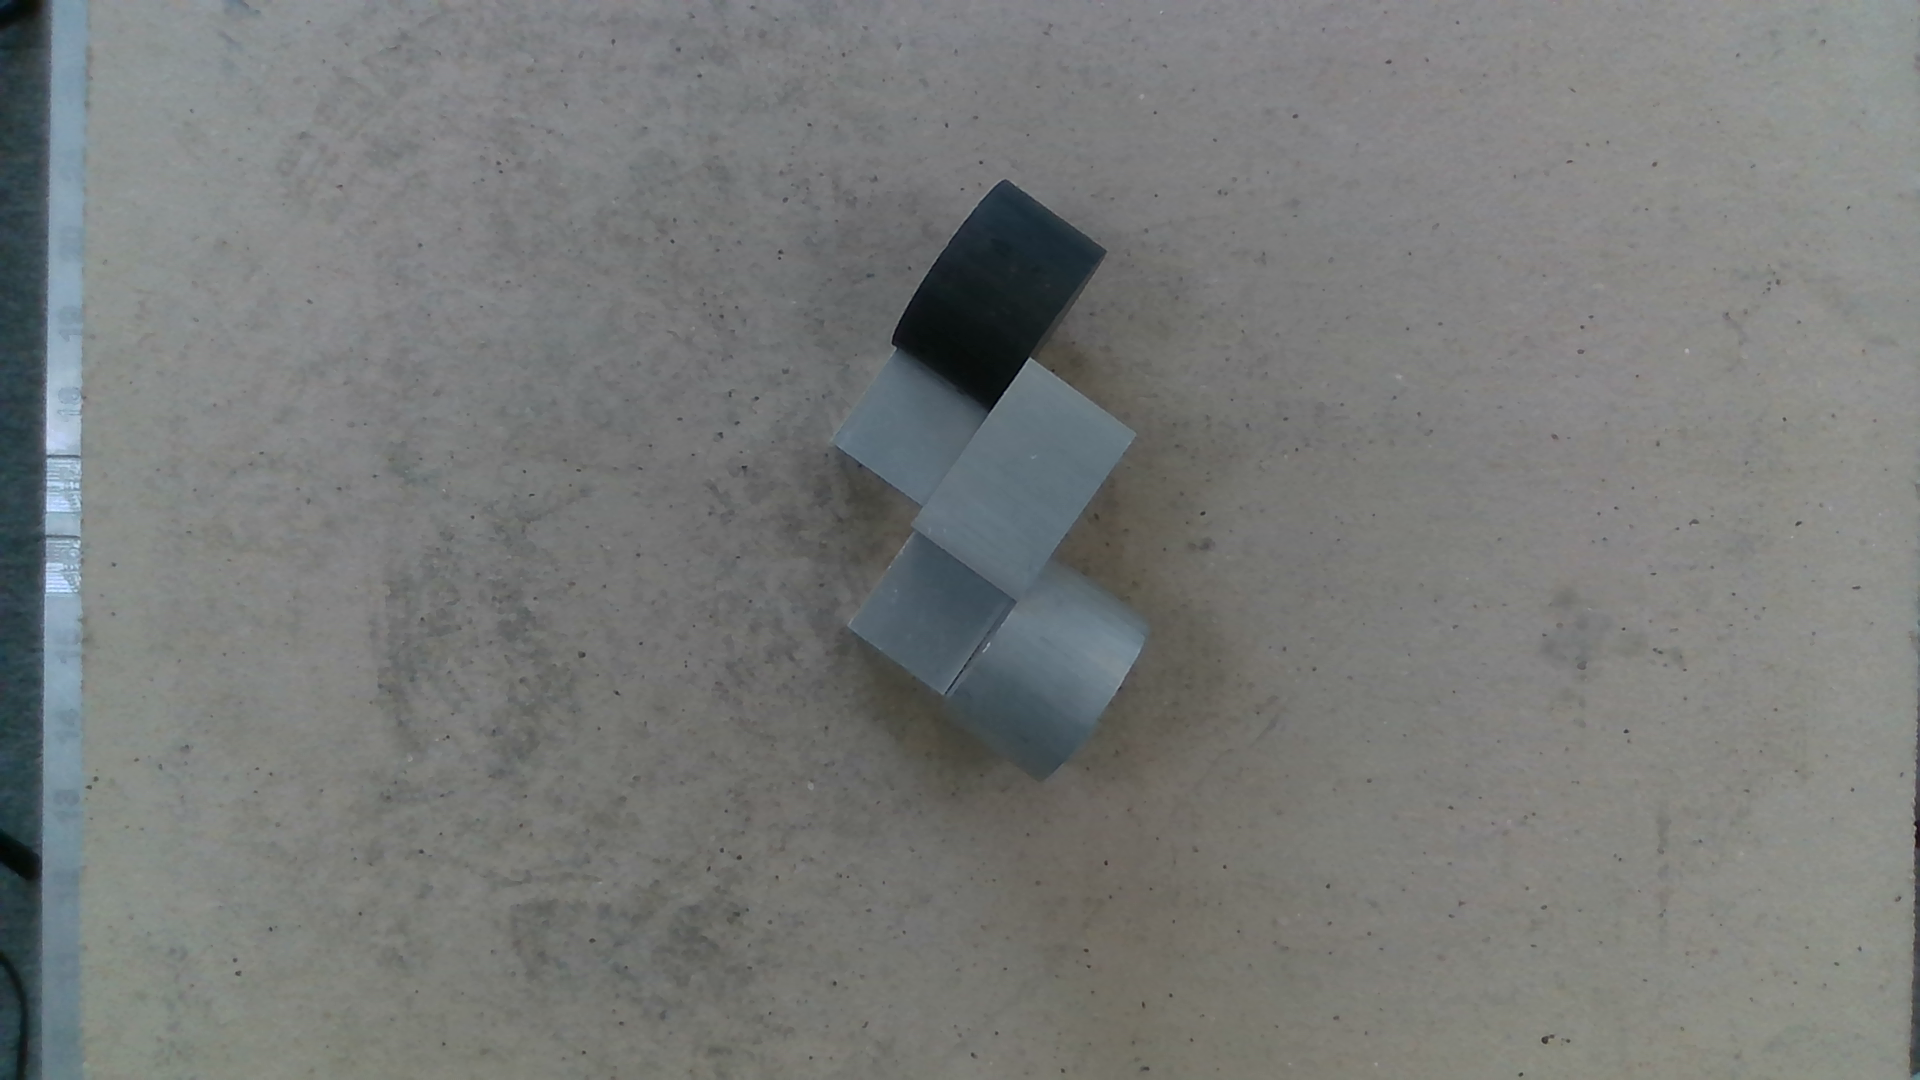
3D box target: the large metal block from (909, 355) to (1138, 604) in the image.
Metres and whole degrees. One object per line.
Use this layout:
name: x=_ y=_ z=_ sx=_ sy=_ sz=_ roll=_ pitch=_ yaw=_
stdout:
large metal block: x=0.024 y=-0.023 z=0.561 sx=0.050 sy=0.080 sz=0.080 roll=35 pitch=91 yaw=0

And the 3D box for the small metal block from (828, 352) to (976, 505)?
small metal block: x=-0.020 y=-0.048 z=0.588 sx=0.050 sy=0.025 sz=0.050 roll=35 pitch=90 yaw=0

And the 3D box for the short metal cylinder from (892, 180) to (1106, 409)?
short metal cylinder: x=0.016 y=-0.098 z=0.559 sx=0.050 sy=0.080 sz=0.080 roll=35 pitch=90 yaw=0

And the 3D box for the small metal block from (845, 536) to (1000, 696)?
small metal block: x=-0.013 y=0.030 z=0.588 sx=0.050 sy=0.025 sz=0.050 roll=35 pitch=90 yaw=0

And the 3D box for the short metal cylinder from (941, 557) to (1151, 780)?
short metal cylinder: x=0.034 y=0.051 z=0.561 sx=0.050 sy=0.080 sz=0.080 roll=35 pitch=90 yaw=0
